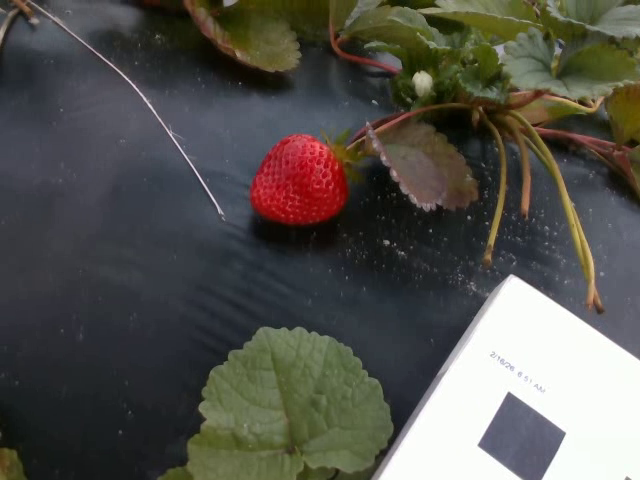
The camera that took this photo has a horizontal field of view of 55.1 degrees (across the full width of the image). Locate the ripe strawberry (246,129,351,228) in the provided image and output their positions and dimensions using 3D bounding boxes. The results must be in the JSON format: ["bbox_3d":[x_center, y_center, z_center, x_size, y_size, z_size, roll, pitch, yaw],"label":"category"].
[{"bbox_3d":[-0.008,-0.017,0.167,0.033,0.028,0.022,-34,-23,-21],"label":"ripe strawberry"}]
